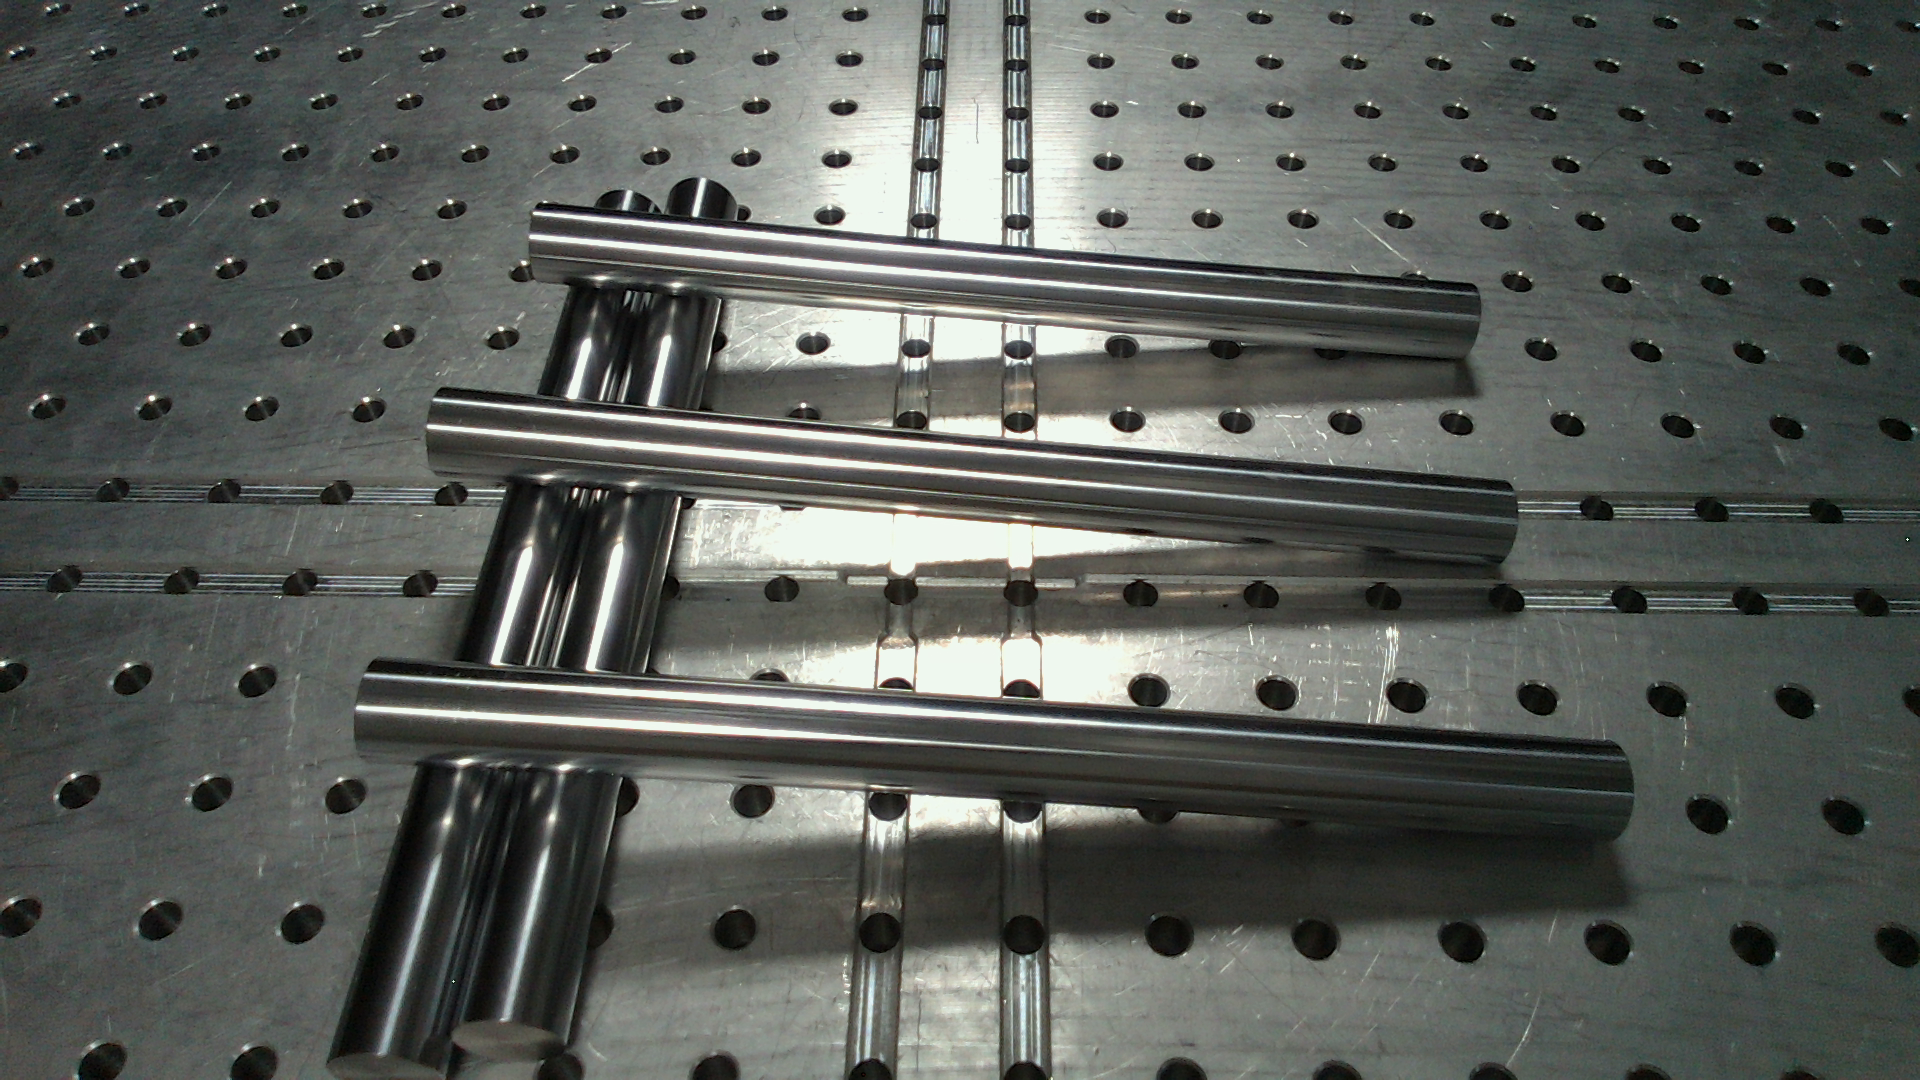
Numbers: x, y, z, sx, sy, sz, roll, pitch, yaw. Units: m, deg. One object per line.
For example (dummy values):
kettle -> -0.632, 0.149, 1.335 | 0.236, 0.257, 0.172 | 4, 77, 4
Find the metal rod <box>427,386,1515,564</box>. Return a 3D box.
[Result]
metal rod -> 0.006, -0.018, 0.390 | 0.300, 0.025, 0.025 | 5, 50, -4

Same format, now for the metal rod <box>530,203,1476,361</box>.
metal rod -> 0.017, -0.083, 0.446 | 0.300, 0.025, 0.025 | 4, 50, -4

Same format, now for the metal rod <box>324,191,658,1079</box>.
metal rod -> -0.121, 0.001, 0.393 | 0.025, 0.025, 0.300 | 1, 50, 1

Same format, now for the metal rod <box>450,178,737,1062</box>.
metal rod -> -0.096, -0.005, 0.398 | 0.025, 0.025, 0.300 | 1, 50, 1

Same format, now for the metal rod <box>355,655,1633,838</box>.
metal rod -> 0.012, 0.051, 0.333 | 0.300, 0.025, 0.025 | 4, 50, -4
